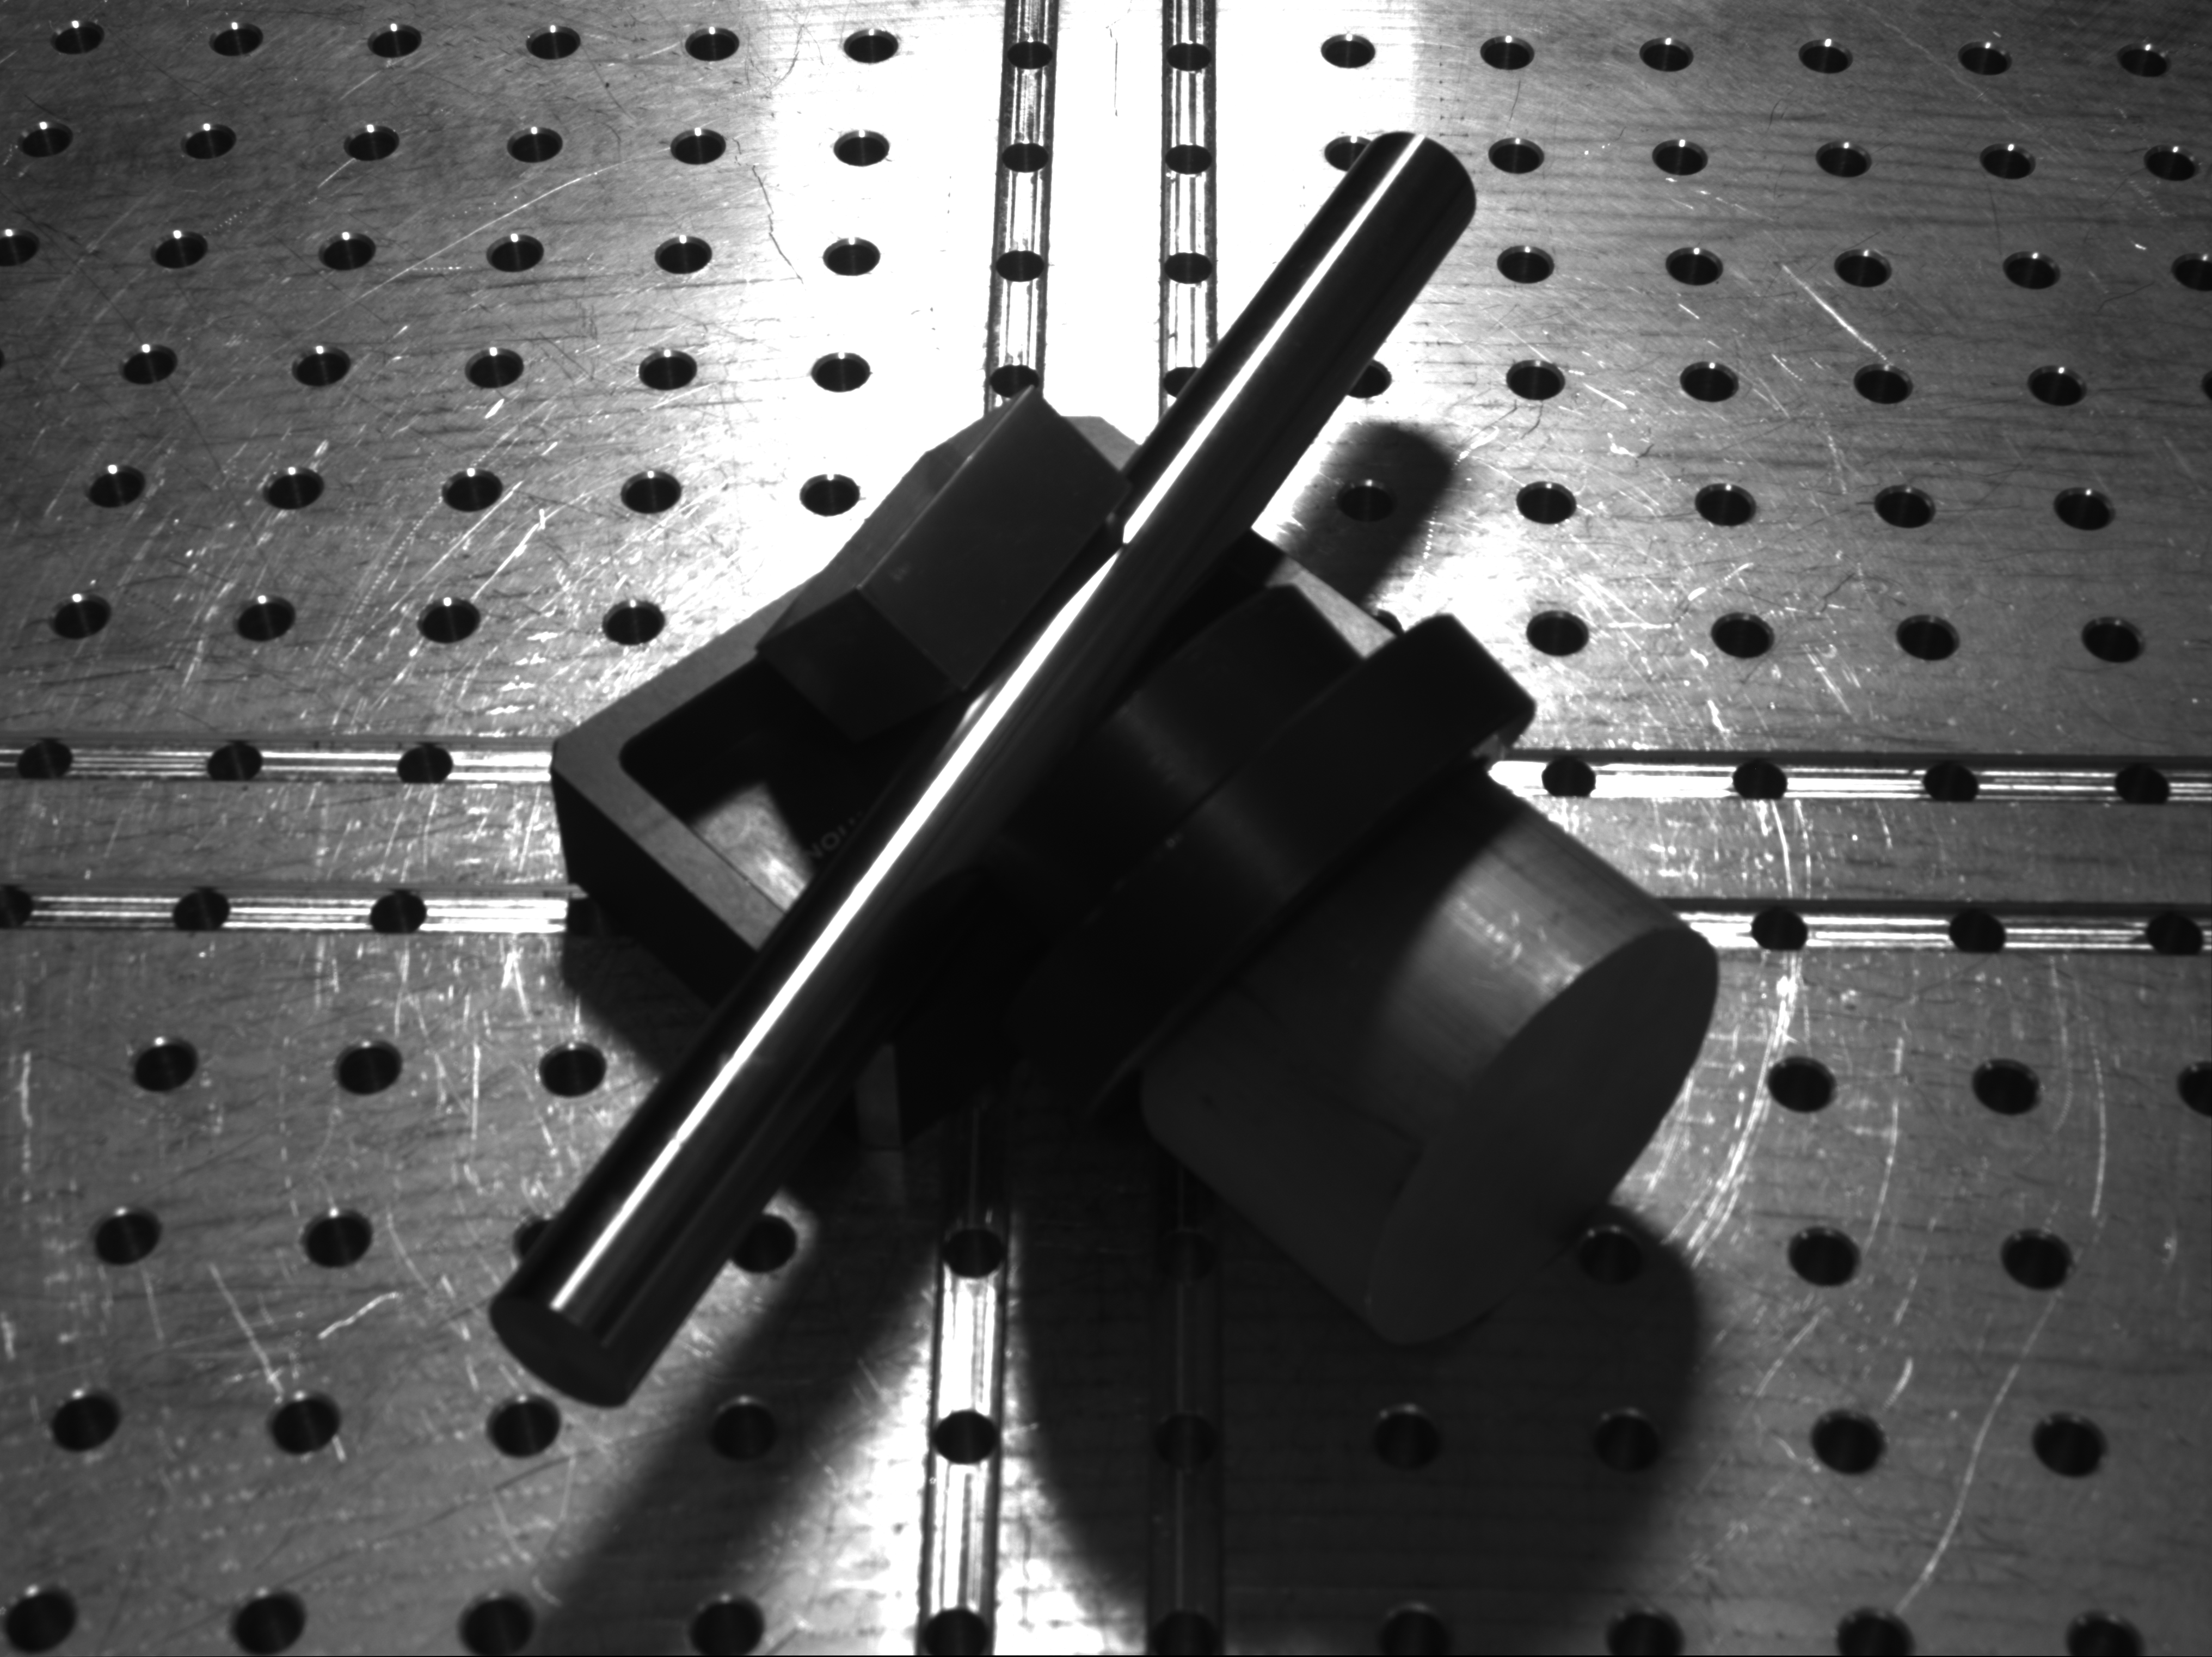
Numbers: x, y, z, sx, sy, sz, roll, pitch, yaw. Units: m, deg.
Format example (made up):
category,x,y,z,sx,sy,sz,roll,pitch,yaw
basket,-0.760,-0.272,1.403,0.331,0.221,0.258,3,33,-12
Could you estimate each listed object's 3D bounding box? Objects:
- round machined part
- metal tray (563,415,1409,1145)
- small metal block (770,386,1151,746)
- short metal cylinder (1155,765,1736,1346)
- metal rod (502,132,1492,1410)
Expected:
category,x,y,z,sx,sy,sz,roll,pitch,yaw
round machined part,0.022,-0.001,0.585,0.098,0.098,0.042,-39,81,-28
metal tray,-0.019,-0.012,0.651,0.130,0.030,0.090,-36,58,-26
small metal block,-0.026,-0.045,0.638,0.025,0.050,0.050,44,66,-13
short metal cylinder,0.054,0.034,0.579,0.080,0.080,0.050,-36,58,-26
metal rod,-0.008,-0.024,0.625,0.025,0.025,0.300,22,53,18
